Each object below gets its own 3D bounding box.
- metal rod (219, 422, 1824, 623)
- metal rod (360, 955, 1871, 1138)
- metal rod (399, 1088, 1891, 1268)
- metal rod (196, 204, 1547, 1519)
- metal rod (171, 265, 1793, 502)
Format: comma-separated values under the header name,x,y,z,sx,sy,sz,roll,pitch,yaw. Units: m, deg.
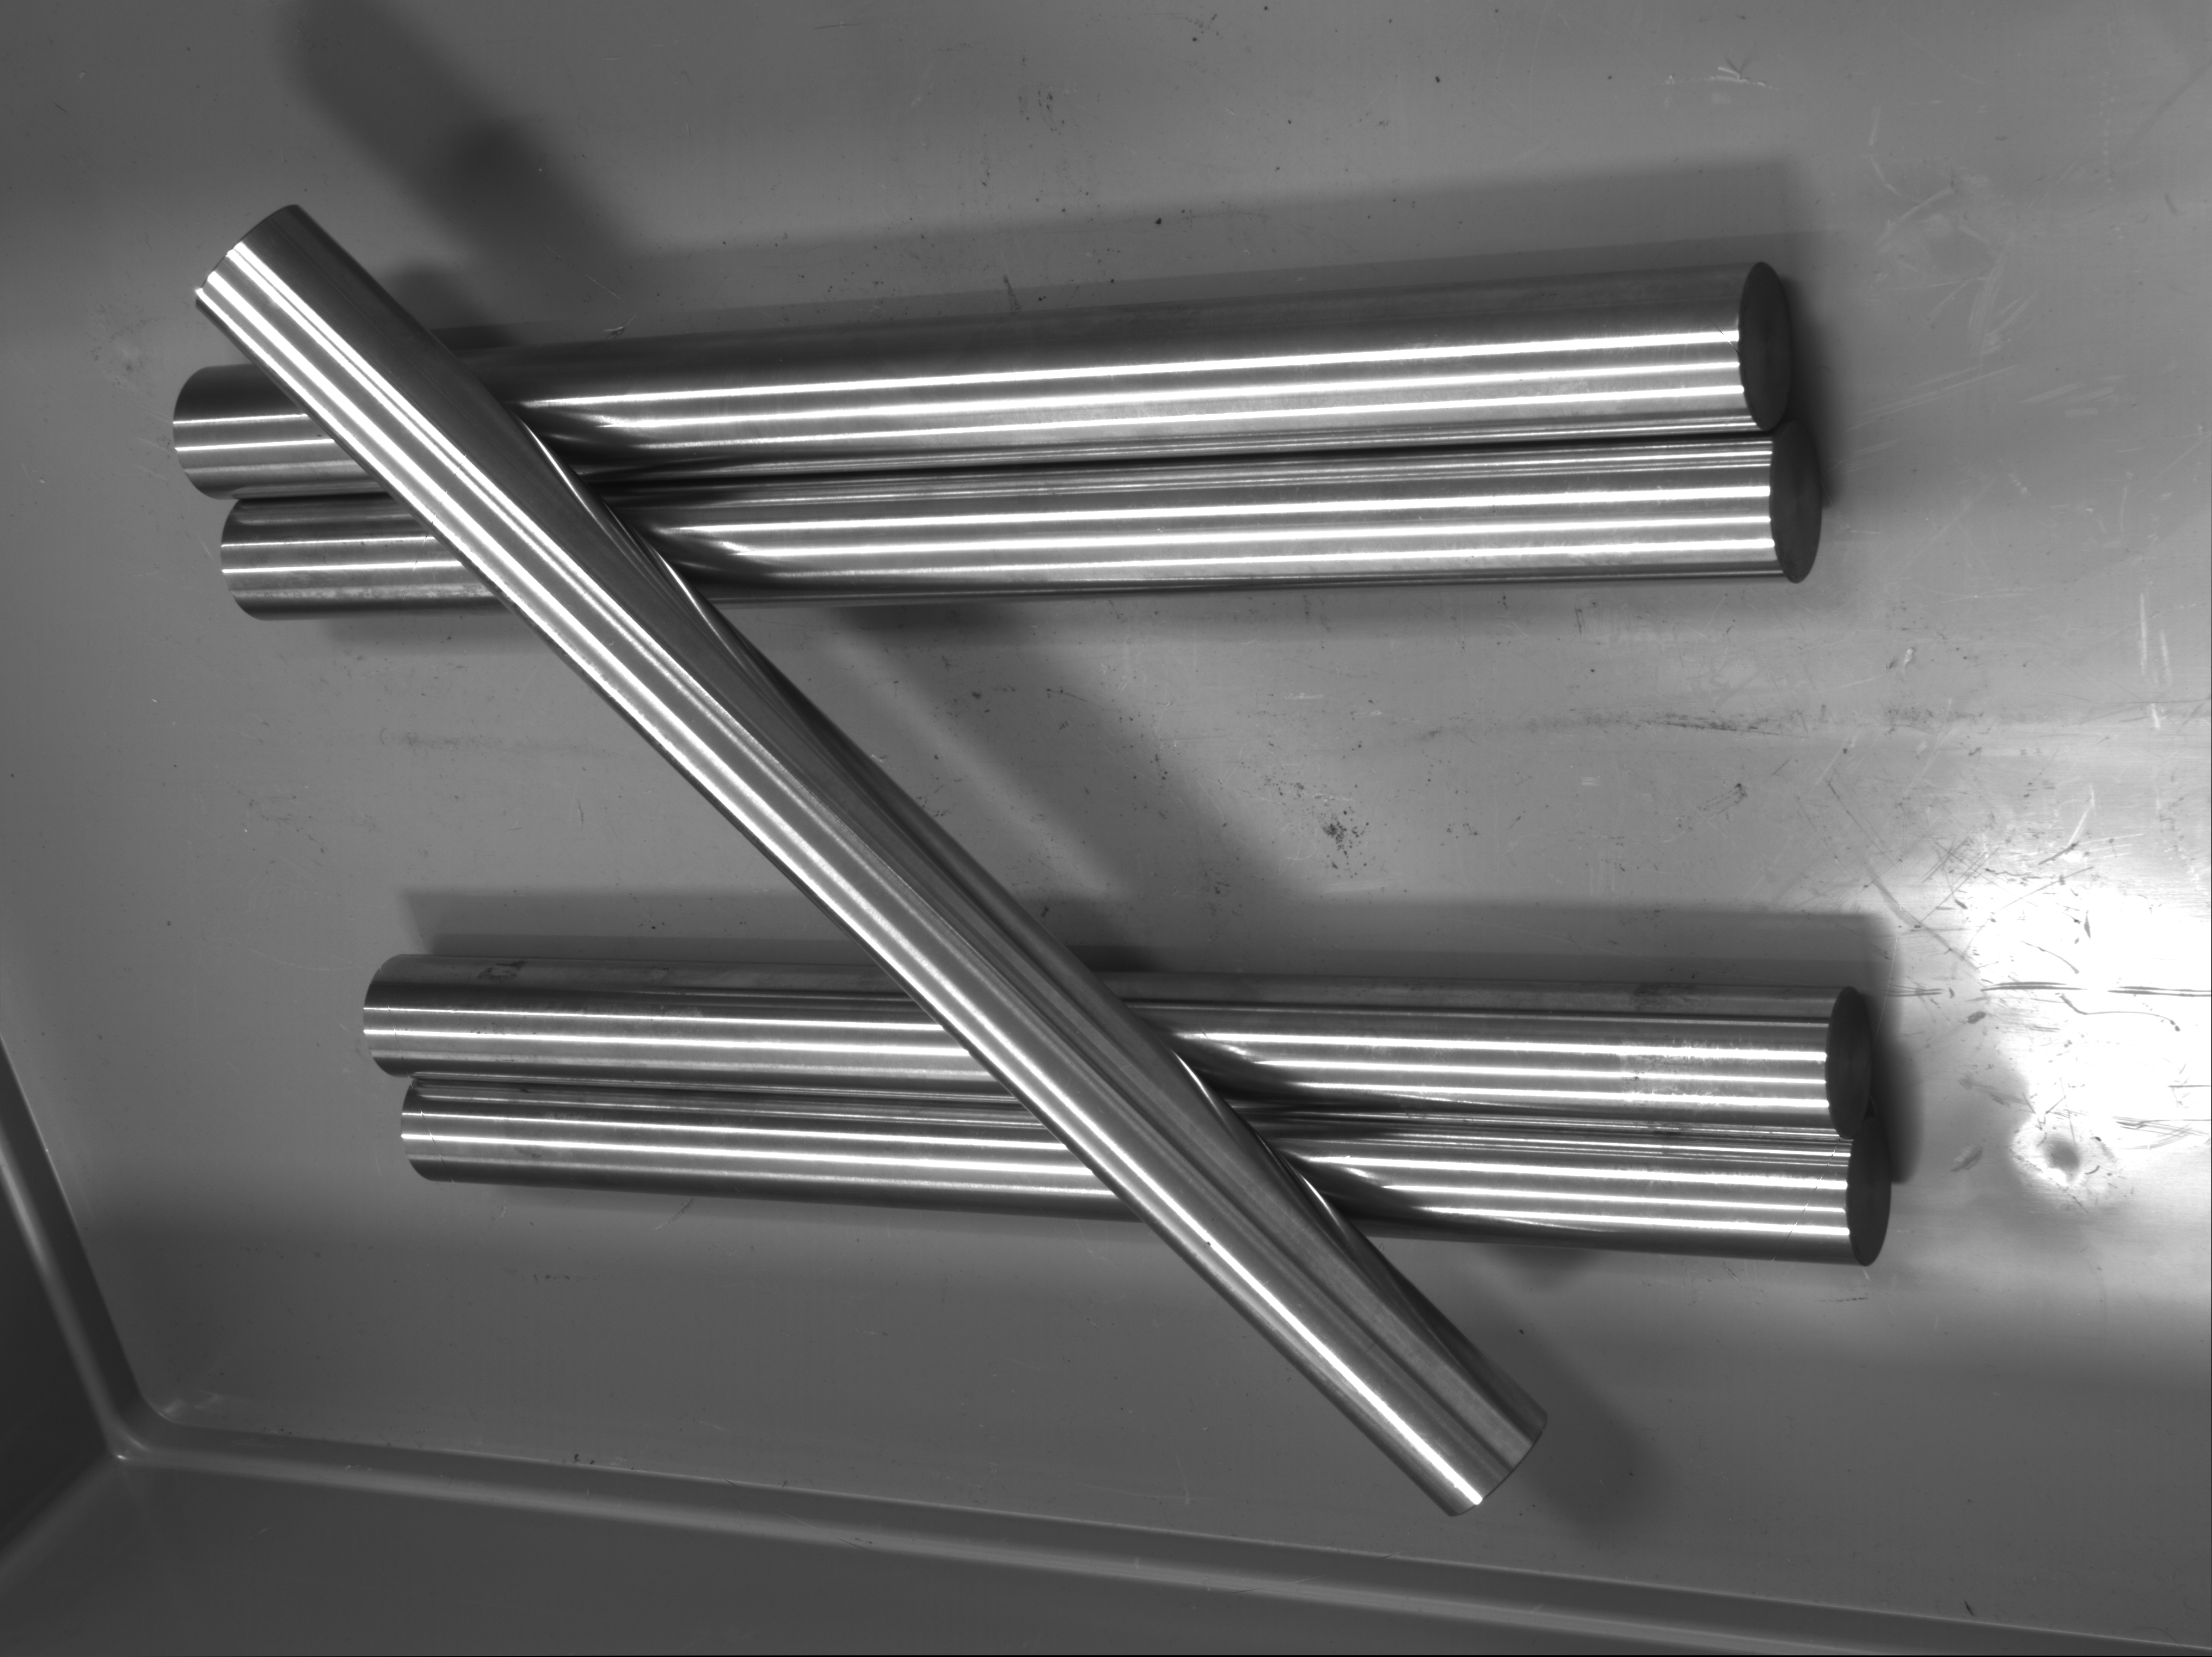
name,x,y,z,sx,sy,sz,roll,pitch,yaw
metal rod,-0.027,-0.050,0.624,0.299,0.025,0.025,1,119,28
metal rod,-0.010,0.038,0.669,0.299,0.025,0.025,0,118,28
metal rod,-0.005,0.060,0.680,0.299,0.025,0.025,0,118,28
metal rod,-0.039,0.007,0.634,0.300,0.025,0.025,44,129,-2
metal rod,-0.034,-0.072,0.614,0.299,0.025,0.025,1,119,28
